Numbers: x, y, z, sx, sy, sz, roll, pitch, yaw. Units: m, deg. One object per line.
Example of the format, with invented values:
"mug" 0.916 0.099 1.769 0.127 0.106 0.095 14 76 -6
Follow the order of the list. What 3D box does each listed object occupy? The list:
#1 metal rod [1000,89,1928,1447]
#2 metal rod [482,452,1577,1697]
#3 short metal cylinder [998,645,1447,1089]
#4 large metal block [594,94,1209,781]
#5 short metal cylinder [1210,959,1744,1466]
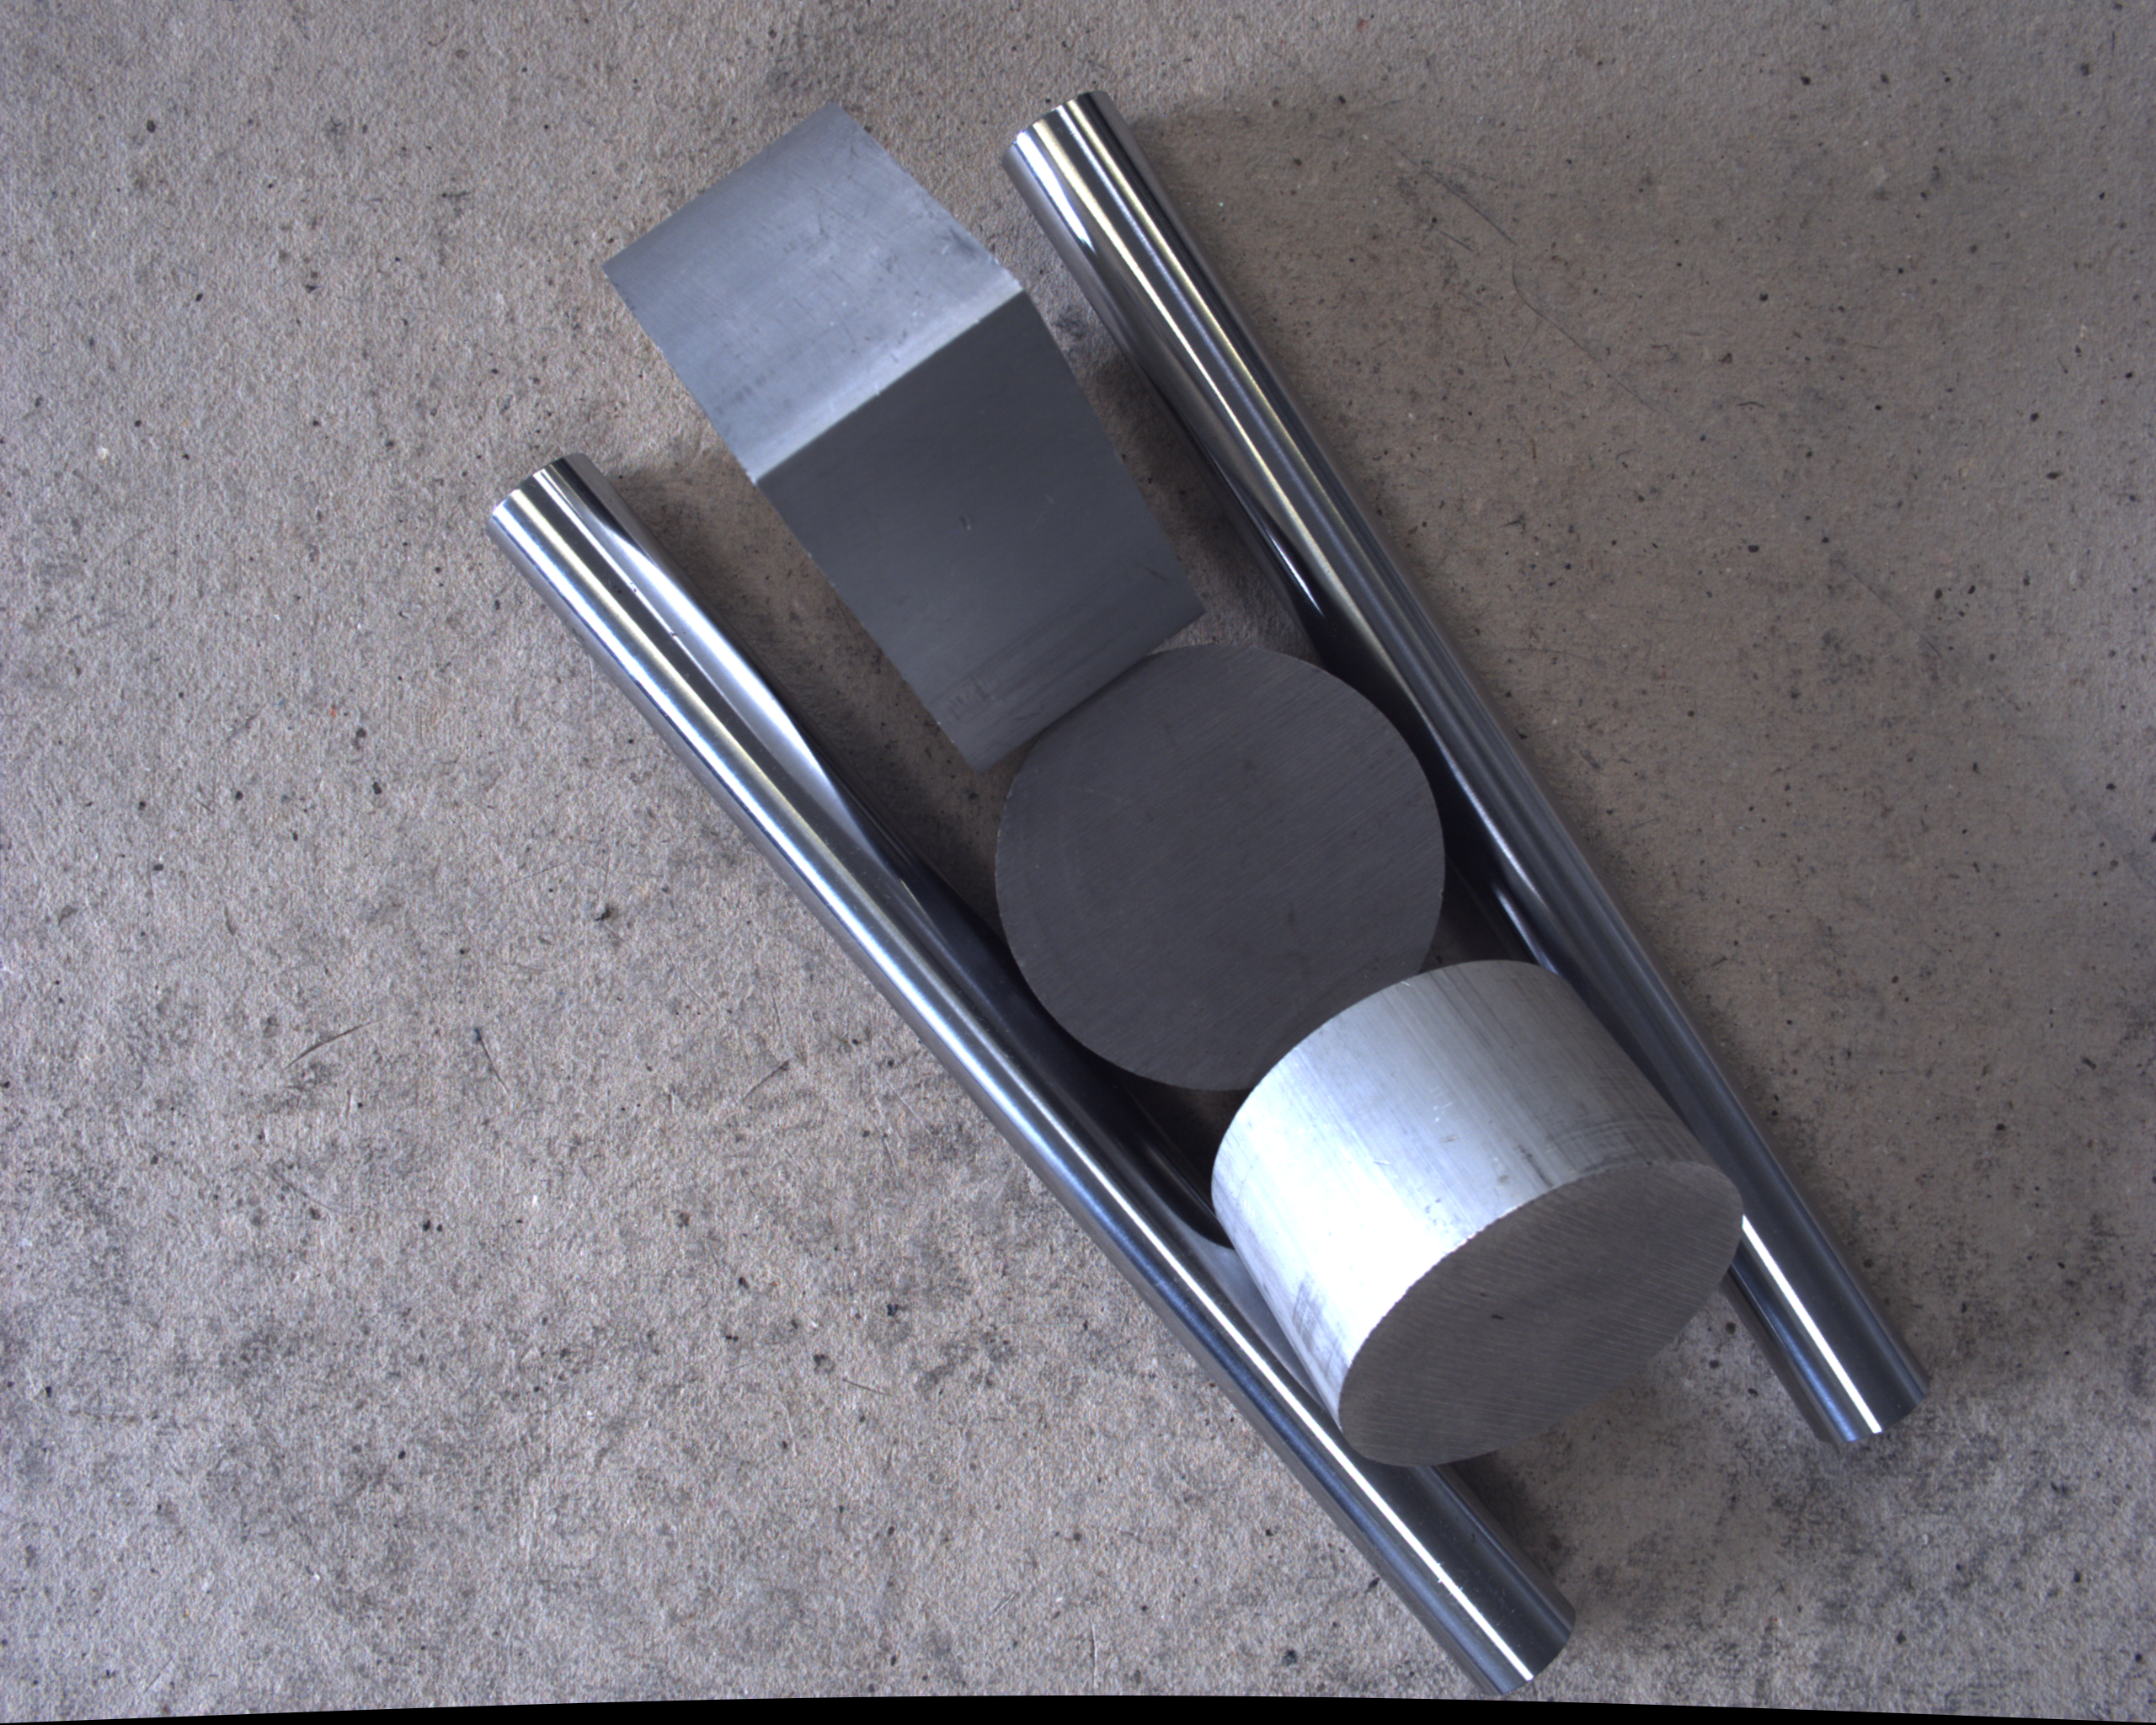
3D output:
"metal rod" 0.076 -0.018 0.411 0.025 0.025 0.299 -33 90 0
"metal rod" -0.009 0.041 0.410 0.025 0.025 0.300 -41 90 0
"short metal cylinder" 0.026 0.001 0.399 0.081 0.050 0.080 0 90 0
"large metal block" -0.031 -0.074 0.368 0.050 0.080 0.080 -36 49 0
"short metal cylinder" 0.071 0.064 0.378 0.080 0.080 0.050 -31 48 0
